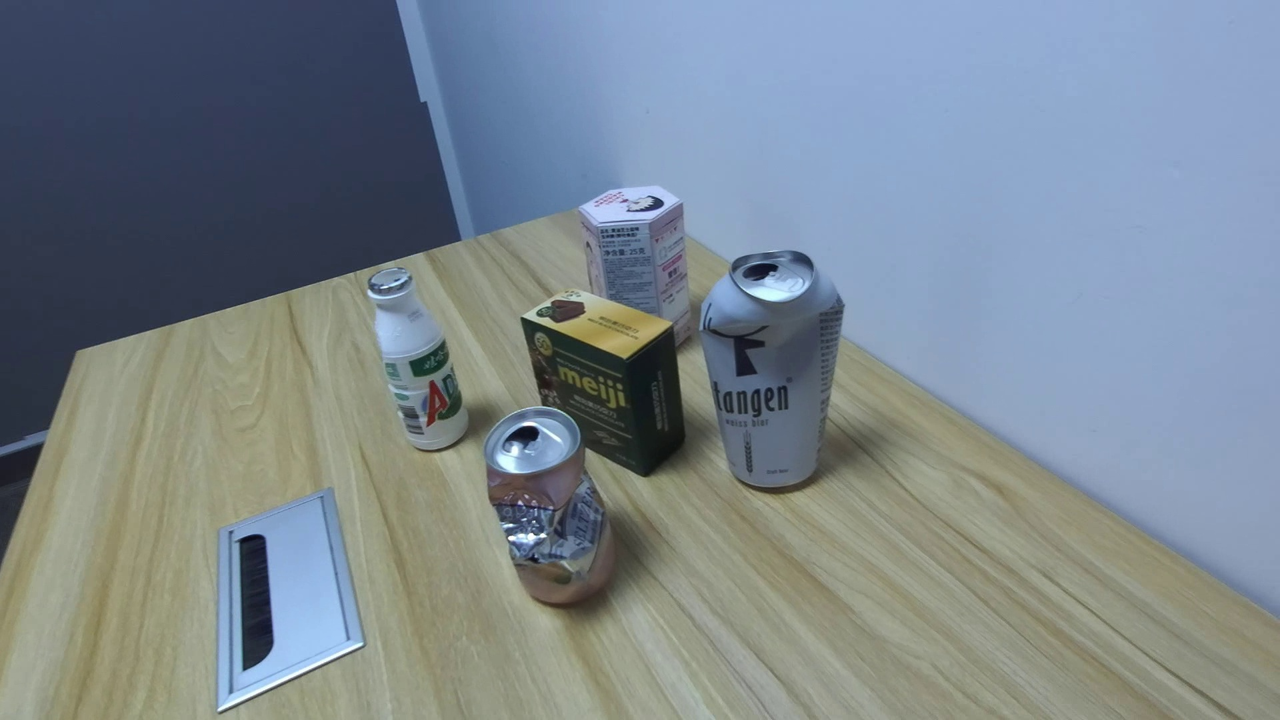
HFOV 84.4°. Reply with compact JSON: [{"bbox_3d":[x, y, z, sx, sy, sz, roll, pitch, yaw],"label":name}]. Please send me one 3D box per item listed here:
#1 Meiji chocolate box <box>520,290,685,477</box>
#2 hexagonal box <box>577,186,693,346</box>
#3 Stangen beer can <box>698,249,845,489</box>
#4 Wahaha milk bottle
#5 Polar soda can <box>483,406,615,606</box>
[{"bbox_3d":[-0.026,0.015,0.531,0.109,0.109,0.056,22,44,36],"label":"Meiji chocolate box"},{"bbox_3d":[-0.003,-0.077,0.634,0.083,0.136,0.091,18,41,32],"label":"hexagonal box"},{"bbox_3d":[0.087,0.011,0.467,0.077,0.162,0.065,-33,42,-32],"label":"Stangen beer can"},{"bbox_3d":[-0.174,0.005,0.550,0.053,0.137,0.053,-4,35,3],"label":"Wahaha milk bottle"},{"bbox_3d":[-0.053,0.090,0.426,0.070,0.114,0.074,-30,36,-22],"label":"Polar soda can"}]
